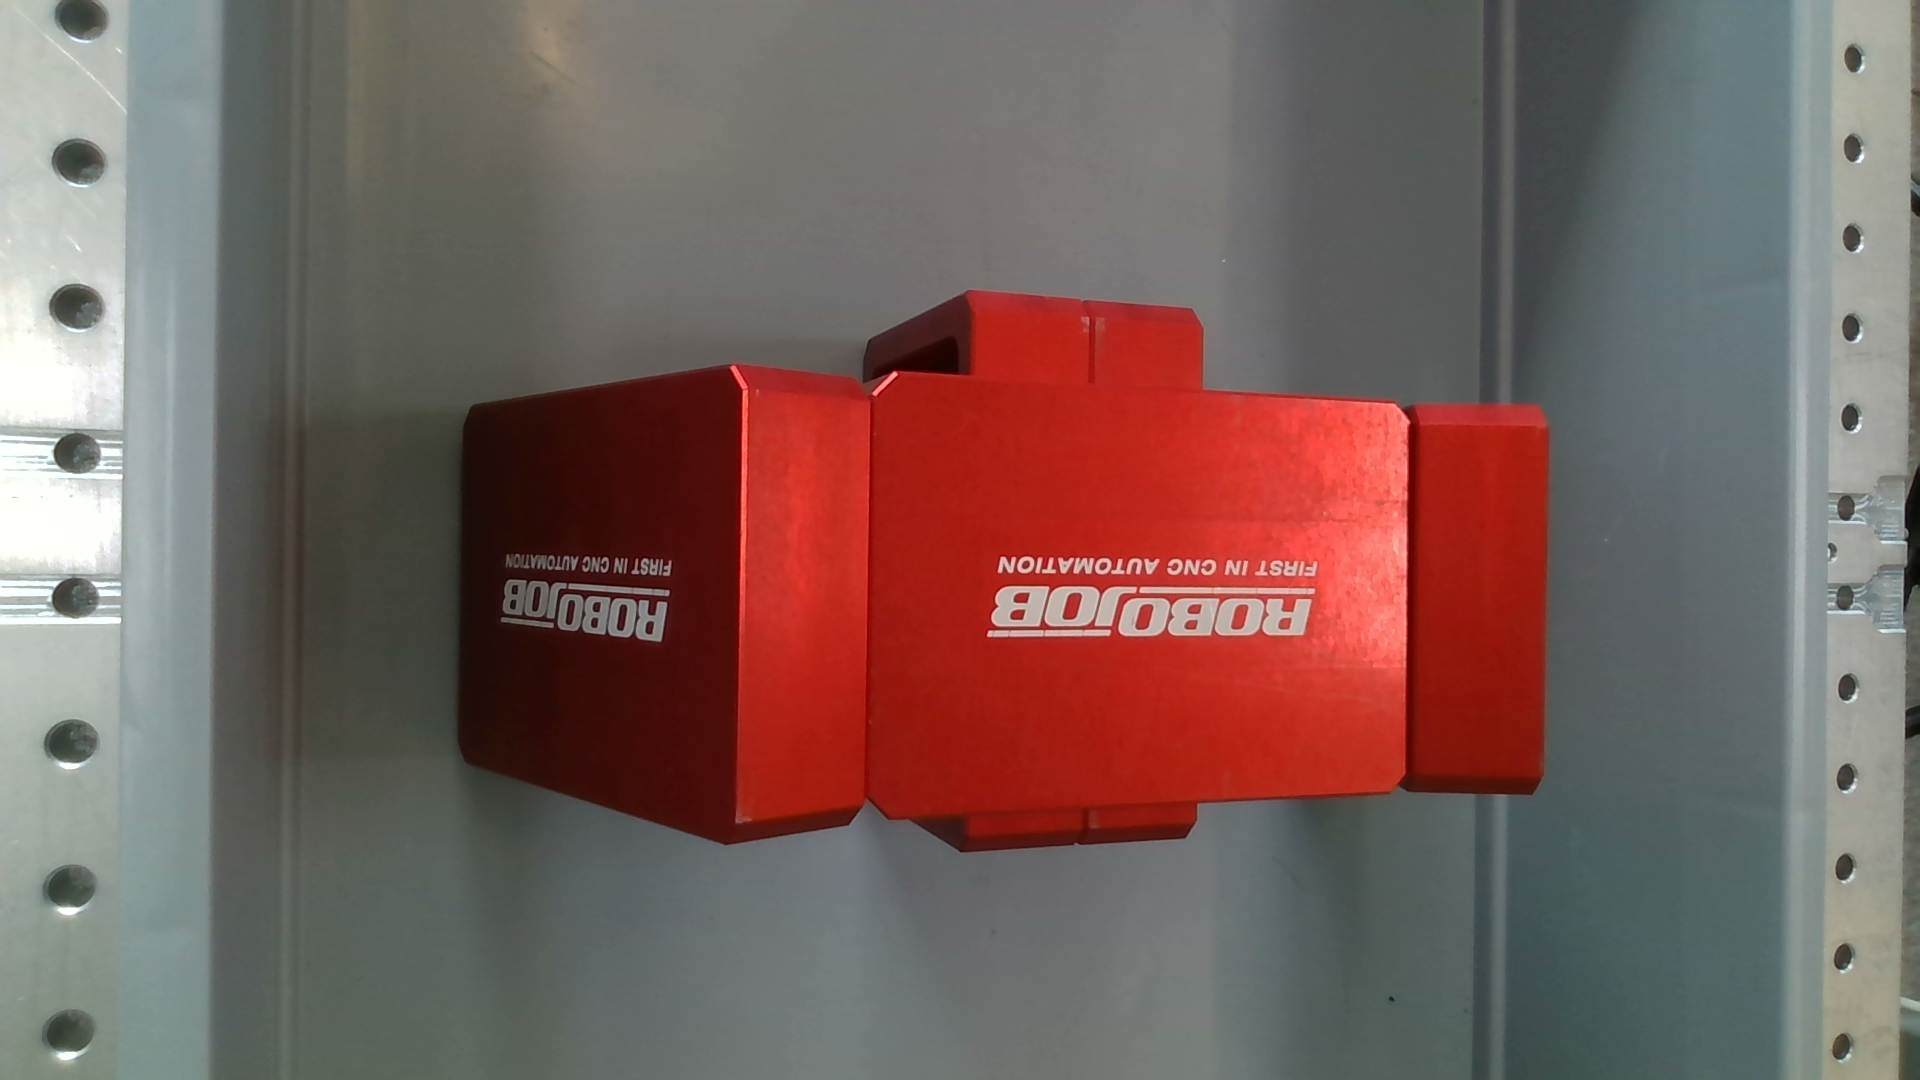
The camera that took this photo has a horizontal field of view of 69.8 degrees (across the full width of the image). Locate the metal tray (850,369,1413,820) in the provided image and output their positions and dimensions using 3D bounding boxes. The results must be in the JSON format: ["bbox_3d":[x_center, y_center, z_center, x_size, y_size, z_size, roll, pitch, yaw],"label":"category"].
[{"bbox_3d":[0.038,0.012,0.308,0.130,0.030,0.090,1,91,-20],"label":"metal tray"}]

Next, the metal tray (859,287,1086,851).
[{"bbox_3d":[0.000,0.007,0.359,0.030,0.090,0.130,1,90,-20],"label":"metal tray"}]

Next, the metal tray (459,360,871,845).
[{"bbox_3d":[-0.072,0.011,0.309,0.030,0.130,0.090,0,91,-42],"label":"metal tray"}]

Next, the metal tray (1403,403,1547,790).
[{"bbox_3d":[0.120,0.014,0.380,0.030,0.130,0.090,1,90,0],"label":"metal tray"}]

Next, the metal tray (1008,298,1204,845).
[{"bbox_3d":[0.029,0.008,0.370,0.030,0.090,0.130,1,90,-20],"label":"metal tray"}]
